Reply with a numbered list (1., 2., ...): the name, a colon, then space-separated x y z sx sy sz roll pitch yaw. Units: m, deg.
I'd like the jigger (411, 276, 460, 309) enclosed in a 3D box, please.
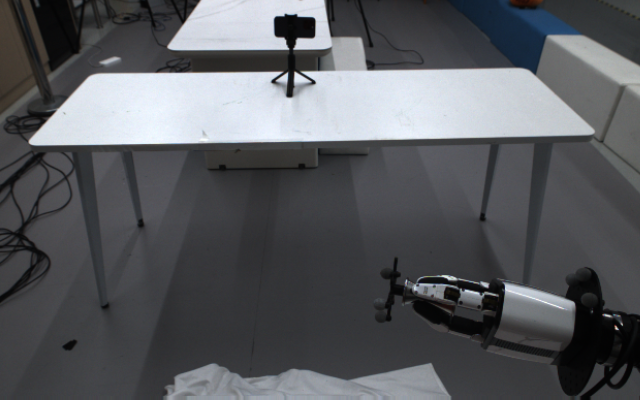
1. jigger: 0.155 0.125 0.652 0.071 0.043 0.043 8 35 15
